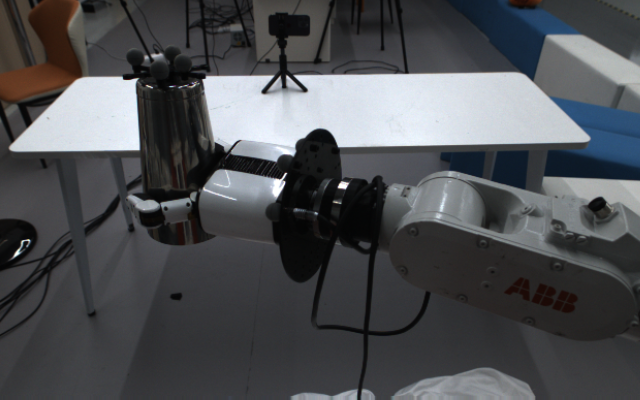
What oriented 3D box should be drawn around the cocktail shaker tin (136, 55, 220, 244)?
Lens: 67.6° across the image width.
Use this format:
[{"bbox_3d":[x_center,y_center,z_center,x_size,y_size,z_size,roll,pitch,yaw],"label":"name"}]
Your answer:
[{"bbox_3d":[-0.152,-0.045,0.531,0.093,0.170,0.093,1,28,0],"label":"cocktail shaker tin"}]
